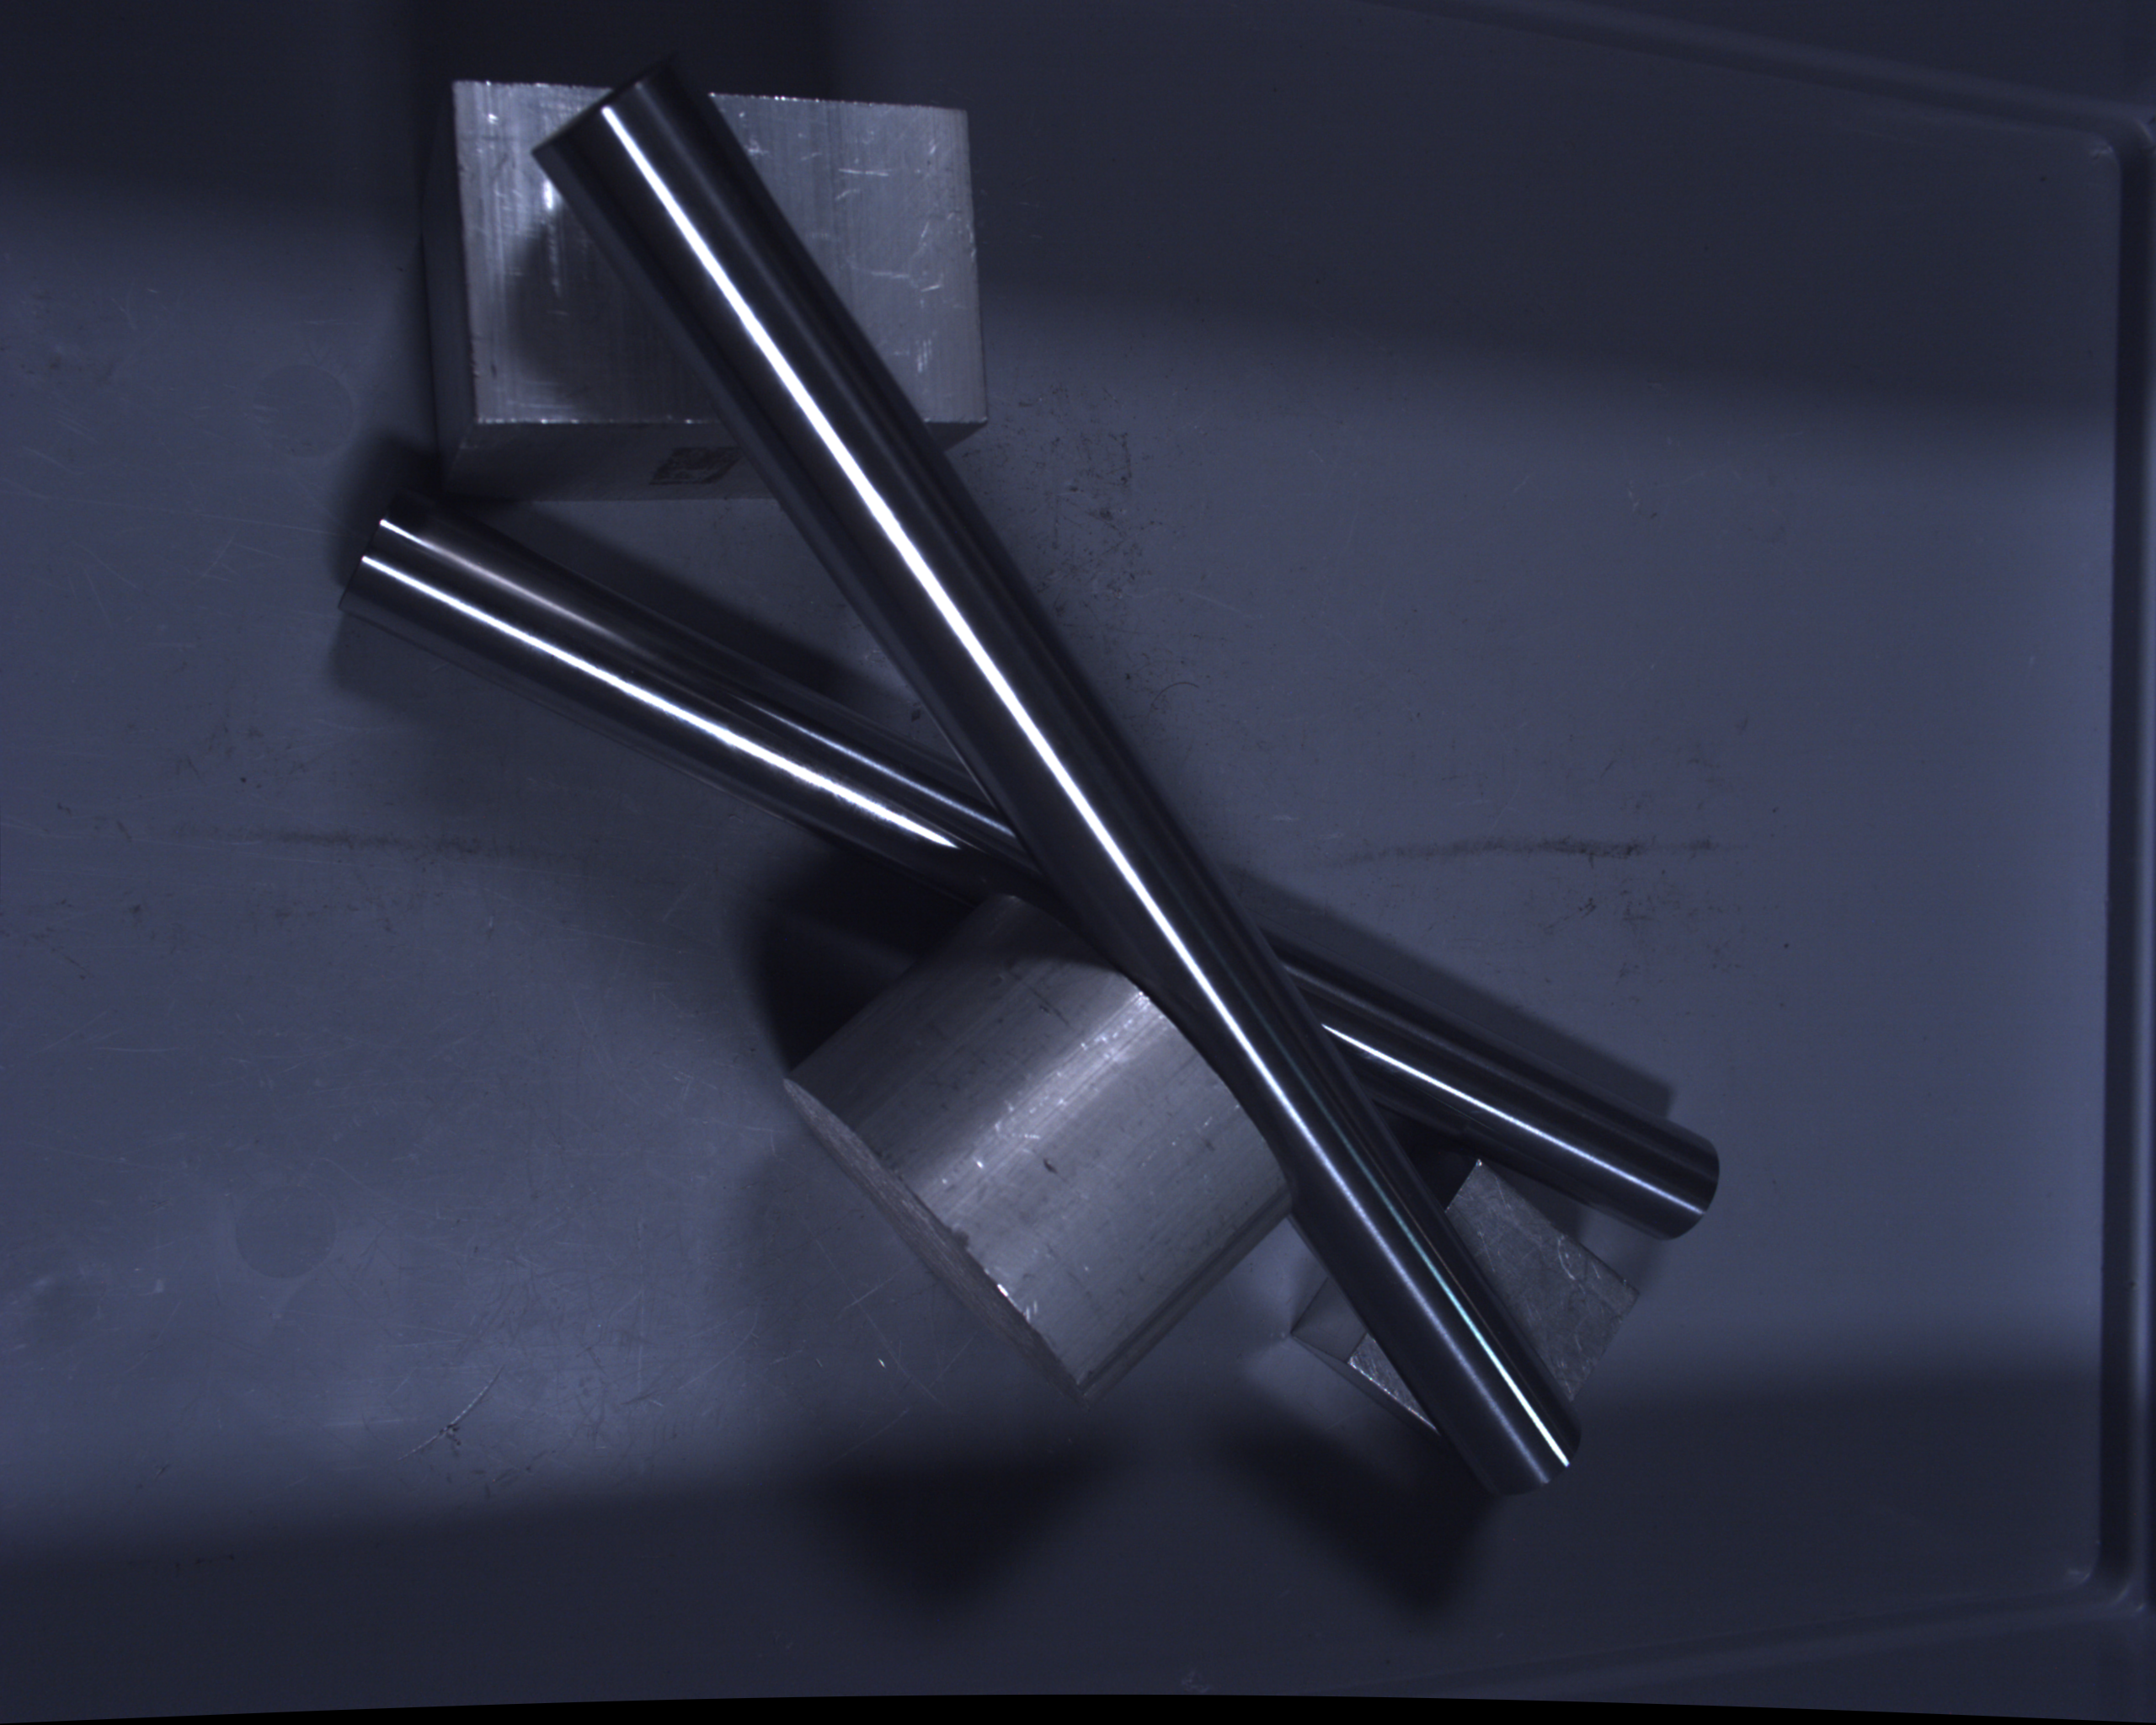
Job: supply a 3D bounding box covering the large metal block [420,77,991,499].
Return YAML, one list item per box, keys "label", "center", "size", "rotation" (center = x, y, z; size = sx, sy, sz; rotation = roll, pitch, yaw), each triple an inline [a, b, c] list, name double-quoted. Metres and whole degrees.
- label: "large metal block"
  center: [-0.067, -0.093, 0.356]
  size: [0.081, 0.080, 0.050]
  rotation: [-4, 92, -20]

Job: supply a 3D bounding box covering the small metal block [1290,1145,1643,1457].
- label: "small metal block"
  center: [0.082, 0.096, 0.441]
  size: [0.050, 0.025, 0.050]
  rotation: [40, 77, -16]

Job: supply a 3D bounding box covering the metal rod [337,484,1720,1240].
- label: "metal rod"
  center: [0.004, 0.008, 0.412]
  size: [0.301, 0.025, 0.025]
  rotation: [26, 81, -19]

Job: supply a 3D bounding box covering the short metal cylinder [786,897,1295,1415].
- label: "short metal cylinder"
  center: [-0.007, 0.053, 0.377]
  size: [0.050, 0.080, 0.080]
  rotation: [-42, 104, -15]

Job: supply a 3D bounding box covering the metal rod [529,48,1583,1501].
- label: "metal rod"
  center: [0.012, 0.005, 0.352]
  size: [0.025, 0.025, 0.299]
  rotation: [-42, 116, -15]
